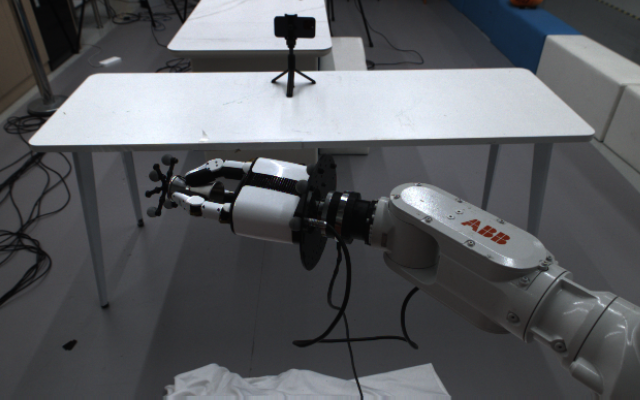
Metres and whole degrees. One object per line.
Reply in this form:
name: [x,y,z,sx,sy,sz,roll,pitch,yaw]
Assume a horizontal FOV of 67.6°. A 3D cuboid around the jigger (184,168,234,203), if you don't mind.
jigger: [-0.172,-0.013,0.696,0.071,0.043,0.043,10,35,16]
